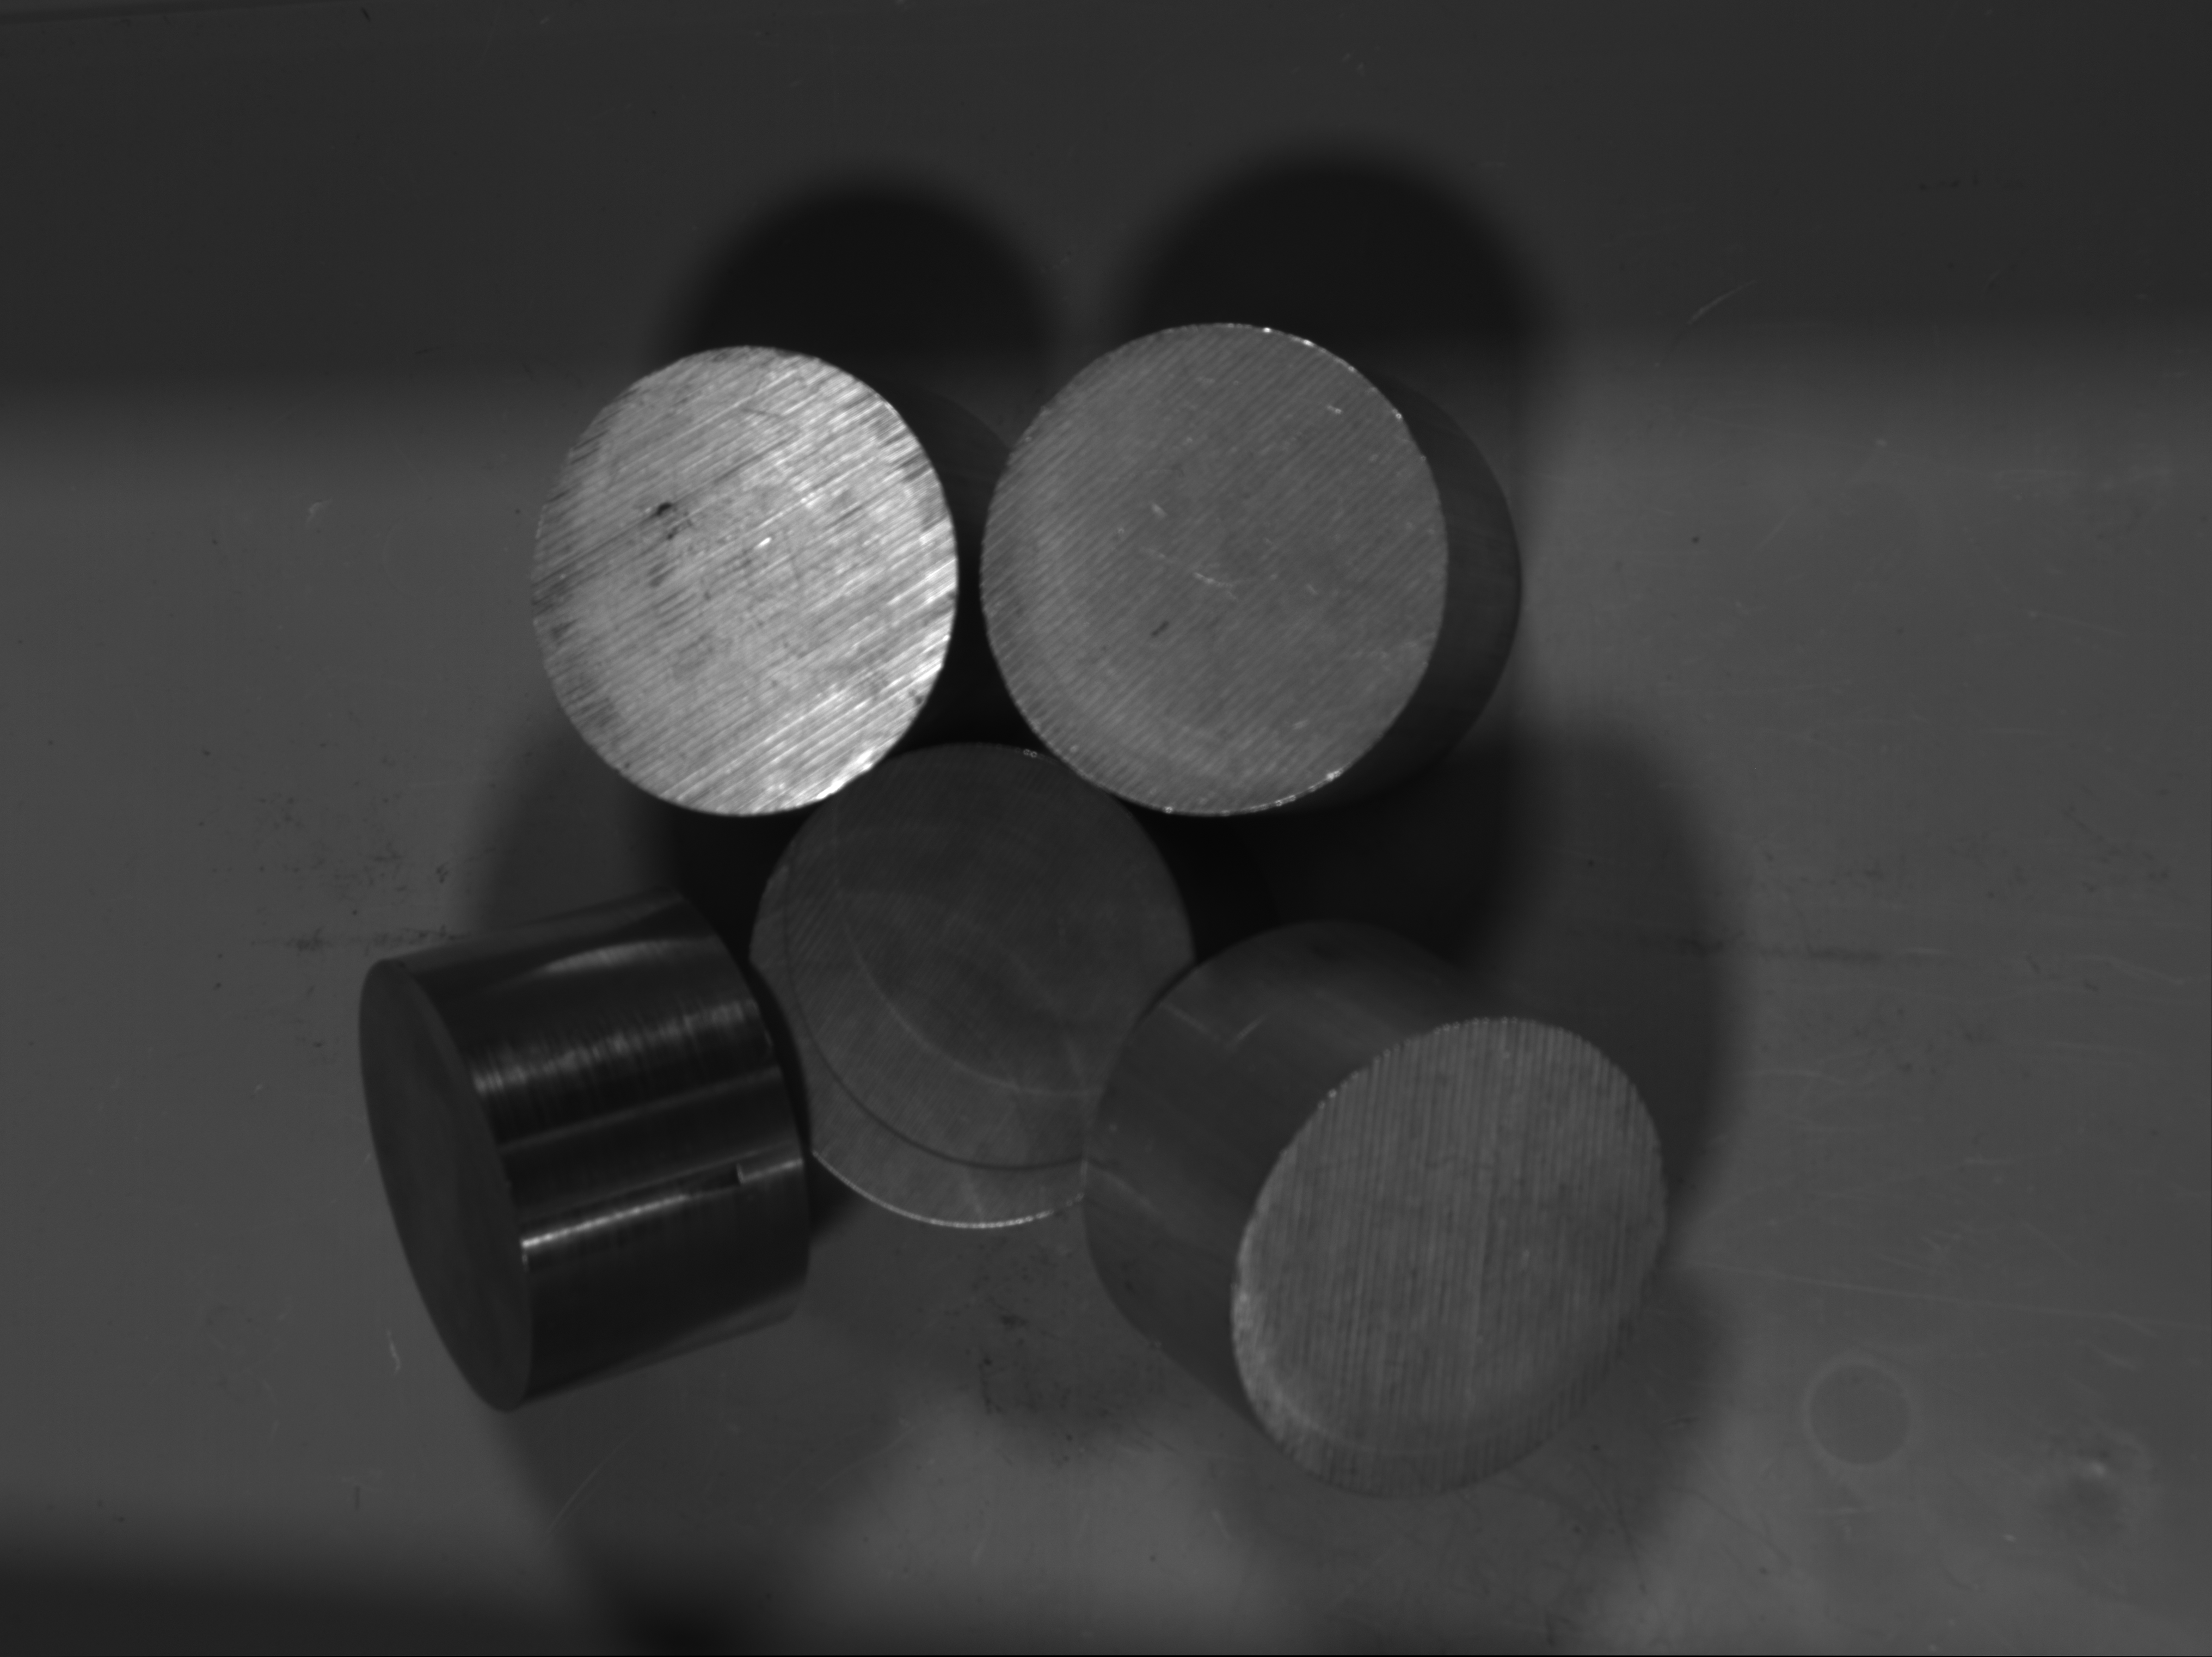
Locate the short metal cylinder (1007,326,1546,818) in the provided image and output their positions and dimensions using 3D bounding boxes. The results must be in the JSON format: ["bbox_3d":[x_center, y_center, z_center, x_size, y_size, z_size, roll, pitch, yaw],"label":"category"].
[{"bbox_3d":[0.030,-0.042,0.620,0.080,0.050,0.080,0,90,20],"label":"short metal cylinder"}]

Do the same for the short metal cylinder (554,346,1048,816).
[{"bbox_3d":[-0.050,-0.042,0.647,0.080,0.050,0.080,0,90,20],"label":"short metal cylinder"}]

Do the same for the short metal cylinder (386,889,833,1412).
[{"bbox_3d":[-0.088,0.056,0.639,0.050,0.080,0.080,-15,83,-25],"label":"short metal cylinder"}]

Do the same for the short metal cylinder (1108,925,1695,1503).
[{"bbox_3d":[0.047,0.061,0.590,0.050,0.080,0.080,30,102,57],"label":"short metal cylinder"}]

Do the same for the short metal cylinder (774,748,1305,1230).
[{"bbox_3d":[-0.010,0.027,0.632,0.080,0.050,0.080,0,90,20],"label":"short metal cylinder"}]
